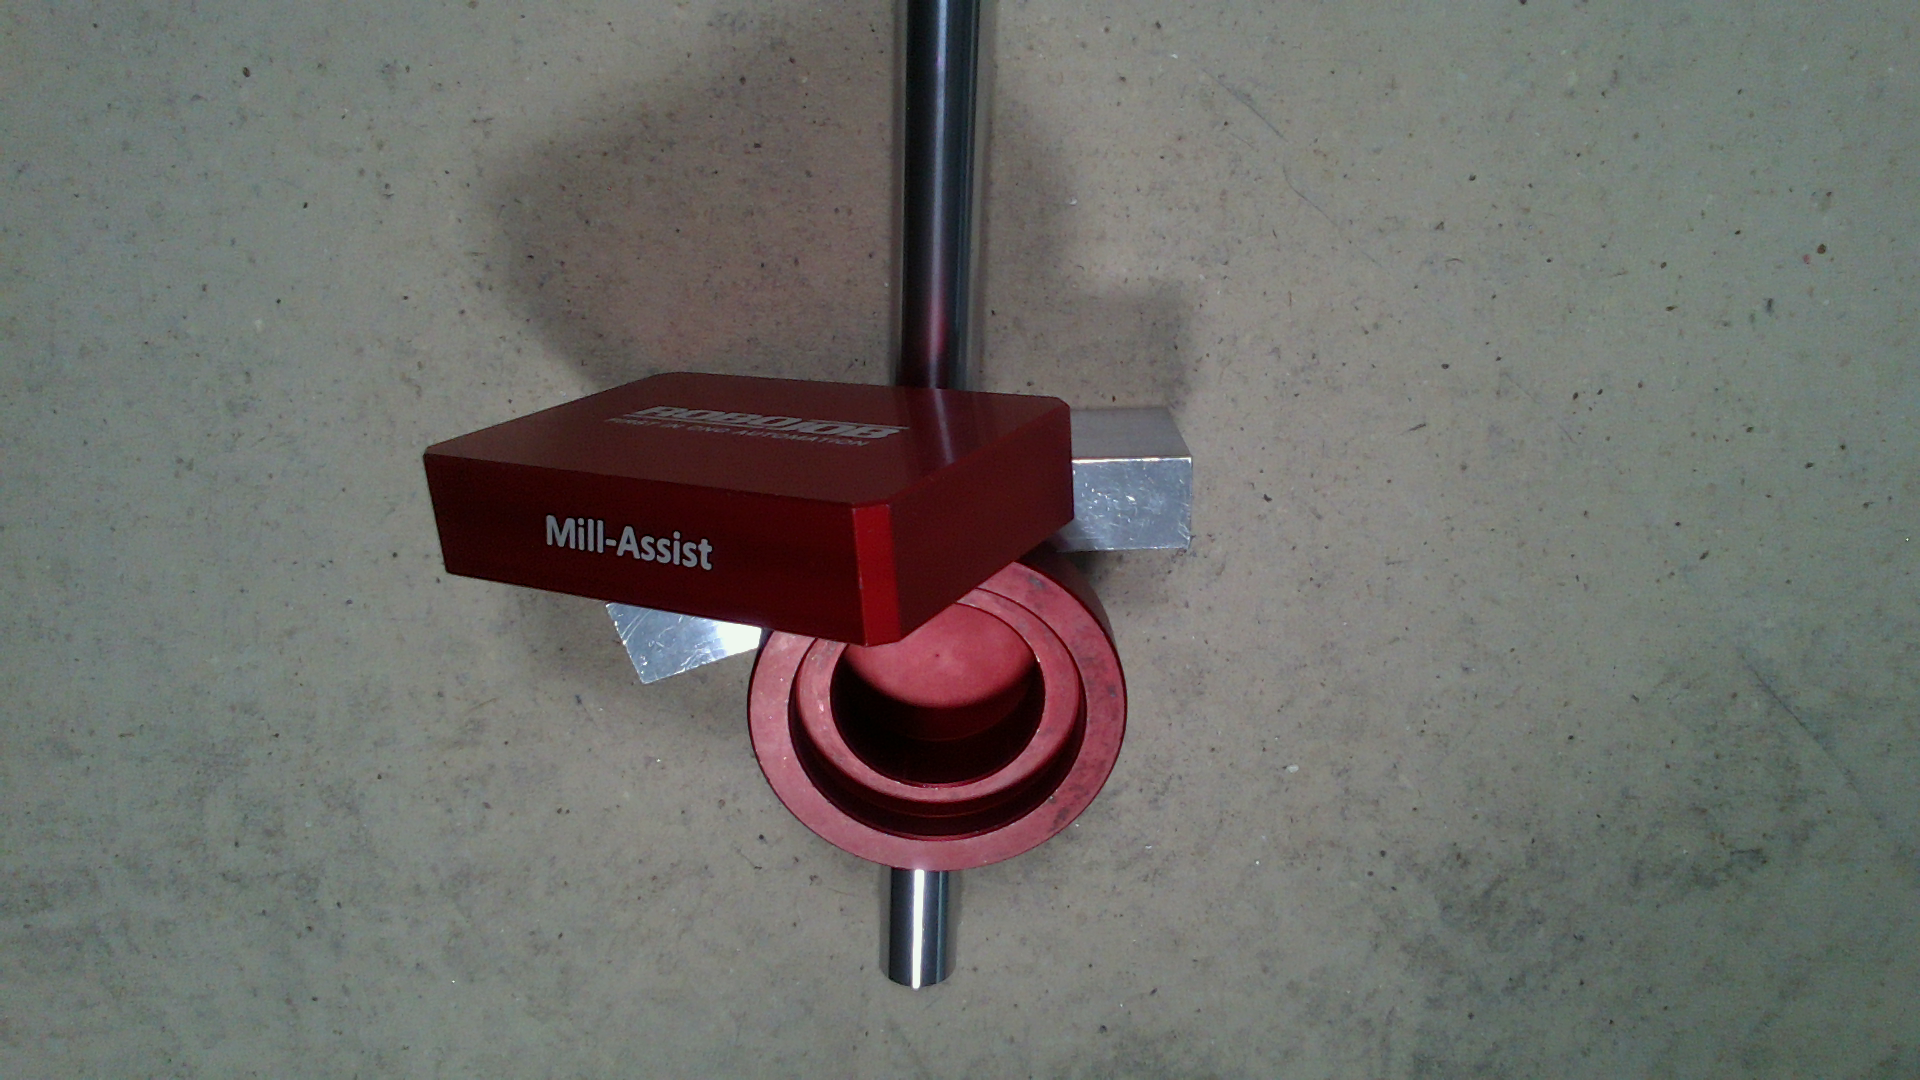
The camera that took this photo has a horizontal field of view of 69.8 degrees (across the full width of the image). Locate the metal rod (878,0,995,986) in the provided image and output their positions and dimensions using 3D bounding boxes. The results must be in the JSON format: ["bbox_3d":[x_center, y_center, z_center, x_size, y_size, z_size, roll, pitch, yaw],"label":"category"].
[{"bbox_3d":[-0.009,-0.005,0.392,0.025,0.025,0.300,2,110,-1],"label":"metal rod"}]

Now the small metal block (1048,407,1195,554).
[{"bbox_3d":[0.035,-0.017,0.375,0.050,0.050,0.025,-2,110,1],"label":"small metal block"}]

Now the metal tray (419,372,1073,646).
[{"bbox_3d":[-0.050,-0.013,0.330,0.130,0.090,0.030,7,112,29],"label":"metal tray"}]

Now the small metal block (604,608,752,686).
[{"bbox_3d":[-0.066,0.012,0.385,0.050,0.050,0.025,-18,109,7],"label":"small metal block"}]

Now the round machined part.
[{"bbox_3d":[-0.006,0.037,0.369,0.098,0.042,0.098,-1,114,-2],"label":"round machined part"}]
